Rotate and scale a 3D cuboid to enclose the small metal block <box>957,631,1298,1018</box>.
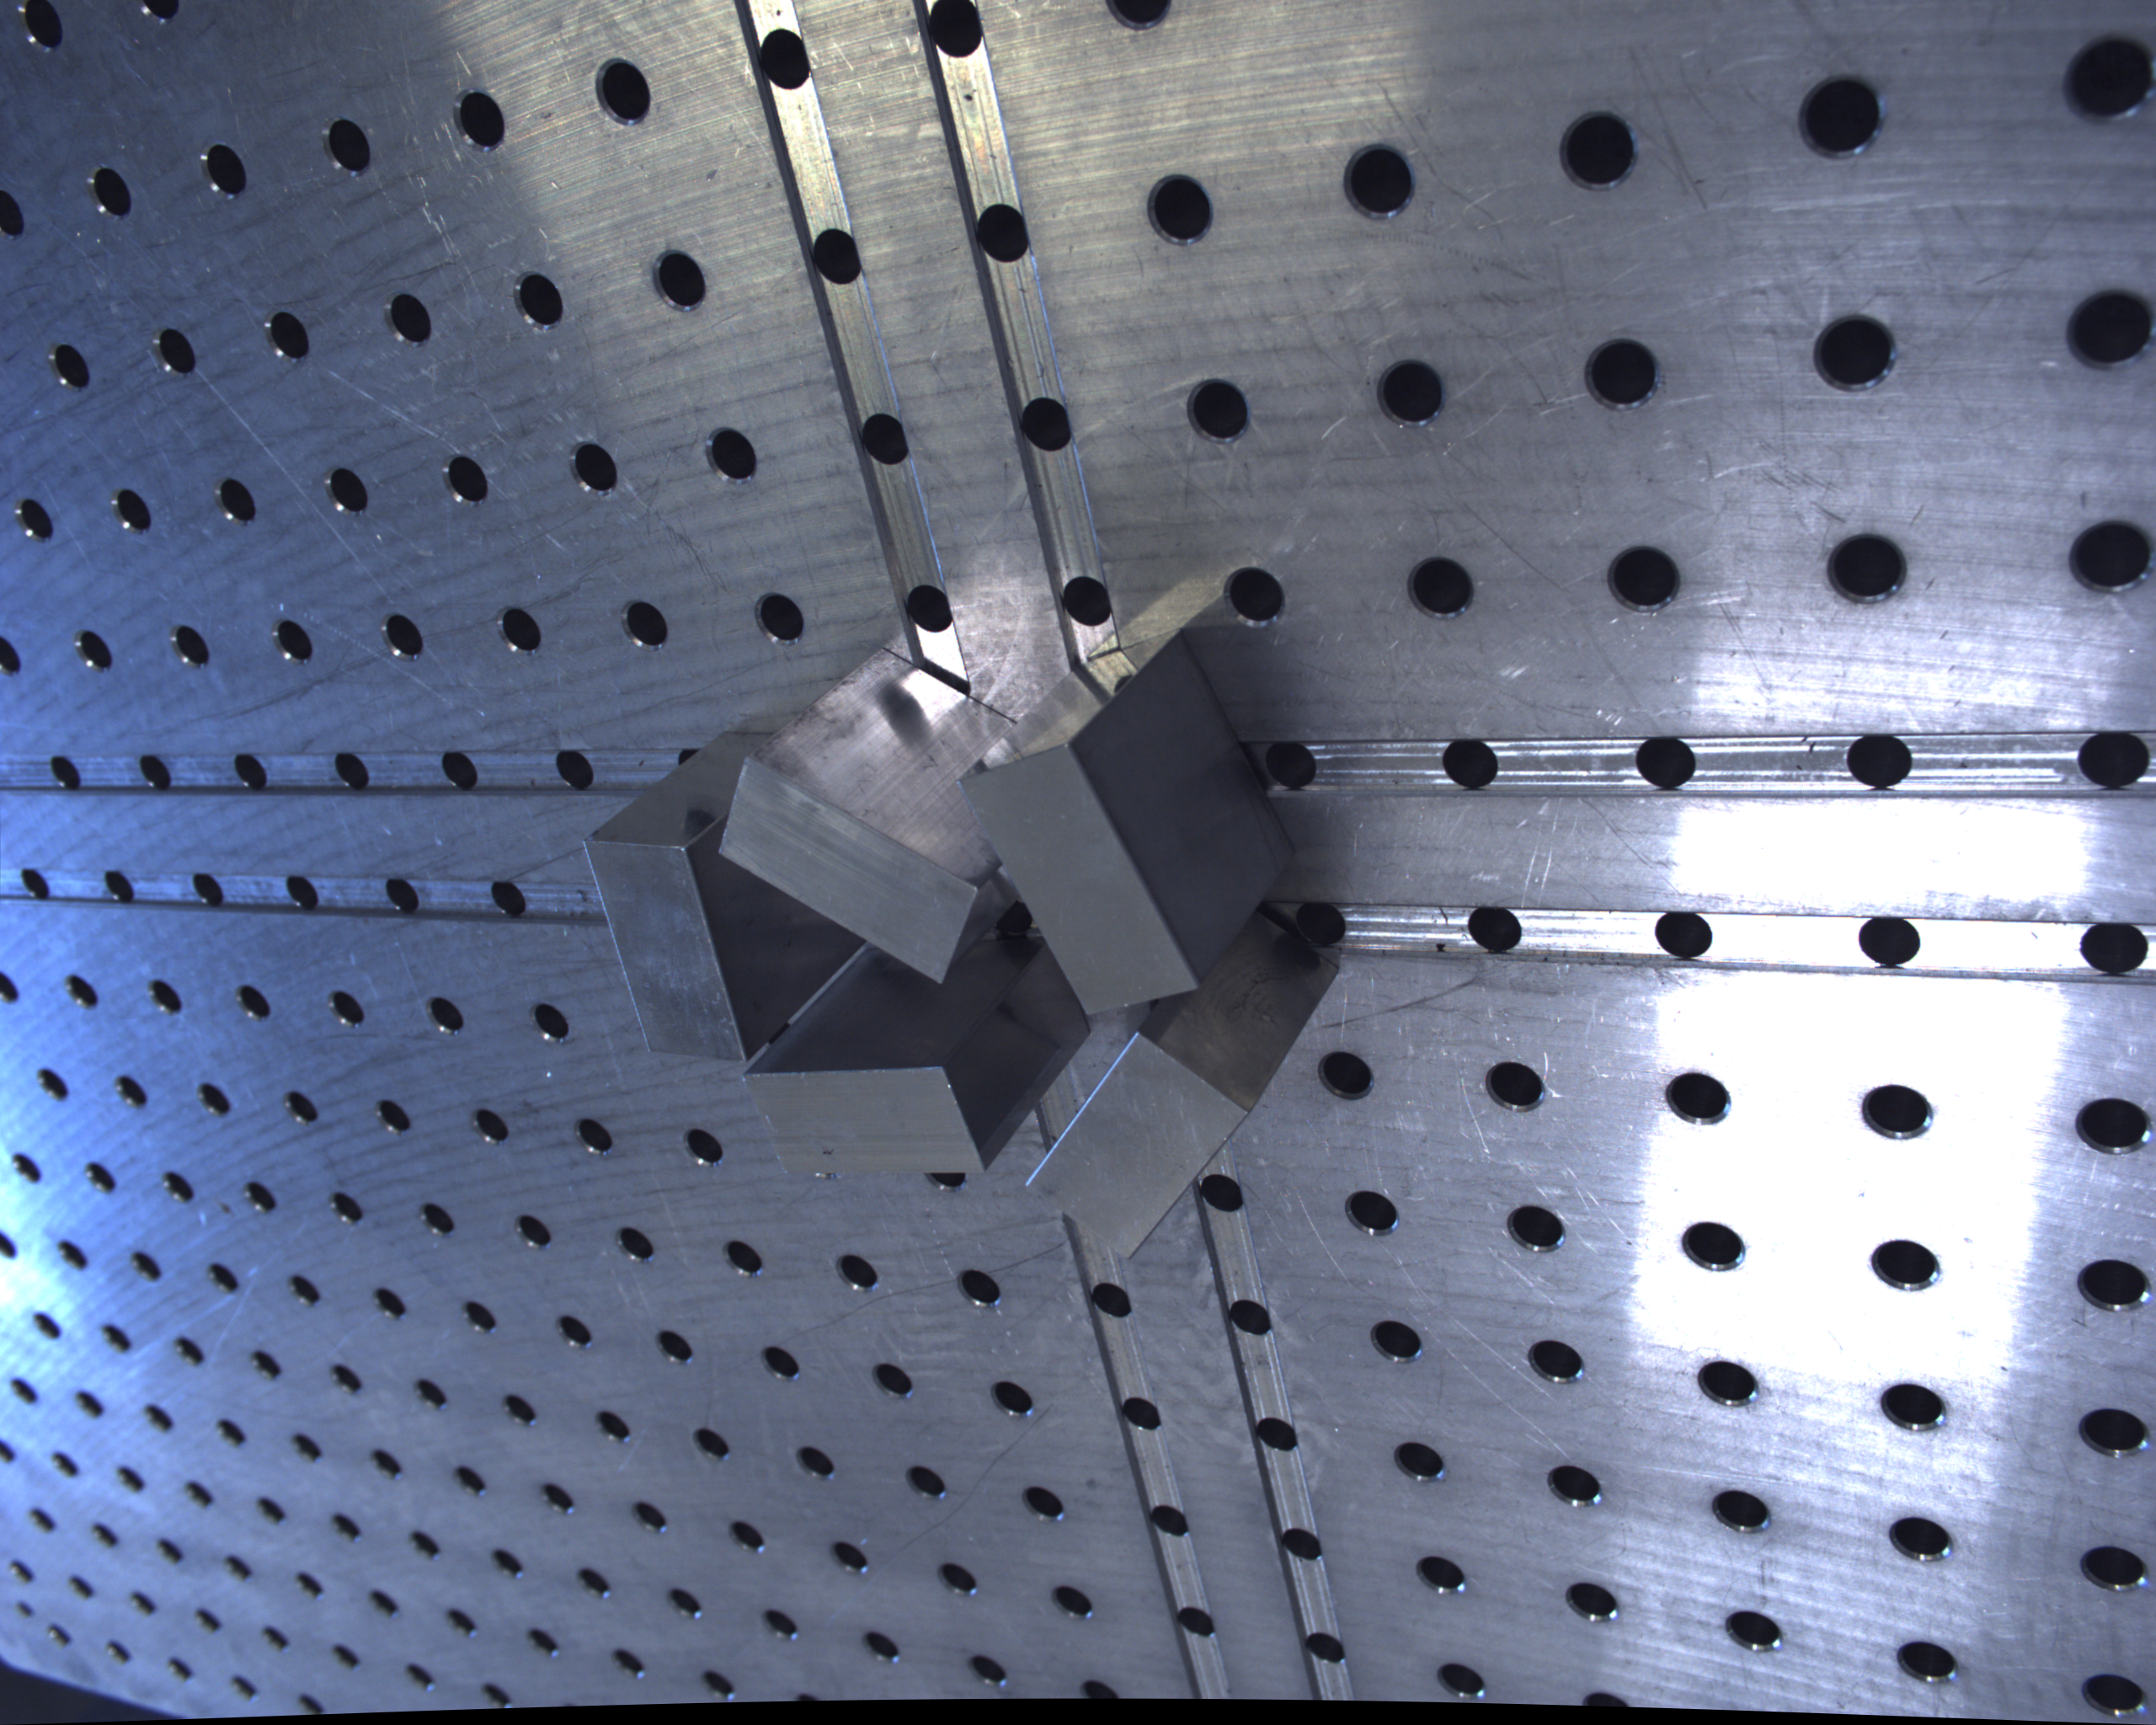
[{"bbox_3d":[0.011,-0.008,0.384,0.025,0.050,0.050,-17,109,35],"label":"small metal block"}]

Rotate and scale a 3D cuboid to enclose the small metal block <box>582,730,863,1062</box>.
[{"bbox_3d":[-0.072,0.006,0.437,0.025,0.050,0.050,4,121,27],"label":"small metal block"}]

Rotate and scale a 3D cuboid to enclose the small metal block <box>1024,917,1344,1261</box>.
[{"bbox_3d":[0.021,0.042,0.410,0.025,0.050,0.050,37,129,5],"label":"small metal block"}]

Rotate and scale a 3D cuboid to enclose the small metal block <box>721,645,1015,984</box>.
[{"bbox_3d":[-0.032,-0.011,0.406,0.050,0.050,0.025,29,129,9],"label":"small metal block"}]

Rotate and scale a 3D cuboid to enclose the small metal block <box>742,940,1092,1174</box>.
[{"bbox_3d":[-0.033,0.040,0.437,0.050,0.050,0.025,-5,116,30],"label":"small metal block"}]
